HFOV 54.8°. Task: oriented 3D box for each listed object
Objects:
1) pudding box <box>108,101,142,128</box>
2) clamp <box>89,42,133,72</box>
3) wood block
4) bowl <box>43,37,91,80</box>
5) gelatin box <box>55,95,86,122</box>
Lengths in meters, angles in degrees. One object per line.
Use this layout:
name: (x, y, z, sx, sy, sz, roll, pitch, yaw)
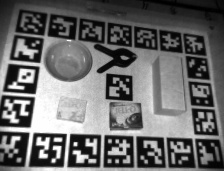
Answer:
pudding box: (0.045, 0.102, 0.752, 0.114, 0.038, 0.090, 4, 75, -9)
clamp: (0.001, -0.112, 0.823, 0.166, 0.036, 0.121, -5, 73, -16)
wood block: (0.209, -0.003, 0.796, 0.090, 0.091, 0.206, 8, 70, -10)
bowl: (-0.157, -0.089, 0.769, 0.162, 0.055, 0.161, 4, 74, -12)
gelatin box: (-0.138, 0.076, 0.723, 0.090, 0.030, 0.073, 13, 71, -8)
